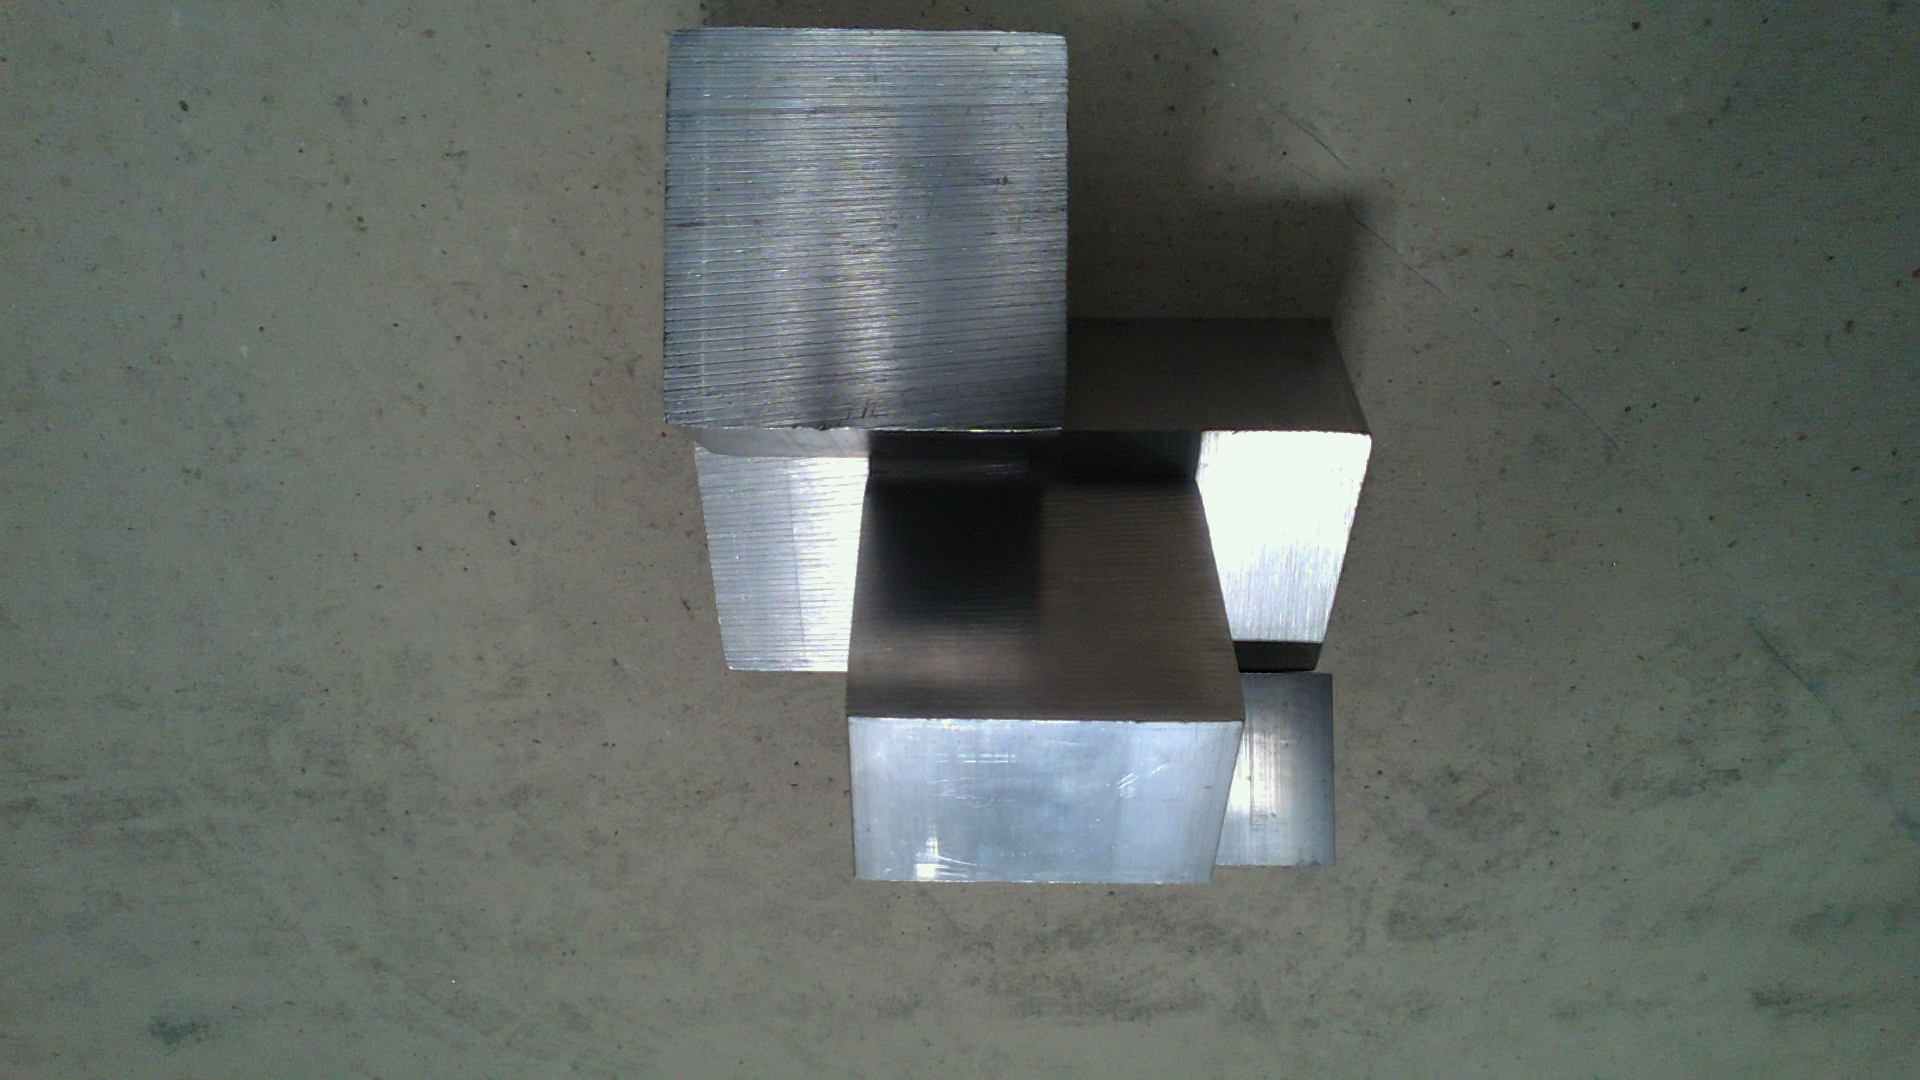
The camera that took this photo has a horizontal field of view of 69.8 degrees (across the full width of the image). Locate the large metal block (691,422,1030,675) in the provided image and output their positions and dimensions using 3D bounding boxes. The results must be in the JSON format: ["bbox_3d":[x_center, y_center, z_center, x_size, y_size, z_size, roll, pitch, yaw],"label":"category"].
[{"bbox_3d":[-0.024,-0.010,0.363,0.080,0.050,0.080,0,130,-1],"label":"large metal block"}]

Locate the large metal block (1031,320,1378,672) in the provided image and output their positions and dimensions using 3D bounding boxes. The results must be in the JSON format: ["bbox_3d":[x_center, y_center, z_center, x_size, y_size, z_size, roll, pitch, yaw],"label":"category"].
[{"bbox_3d":[0.057,-0.010,0.364,0.080,0.050,0.080,0,130,-1],"label":"large metal block"}]

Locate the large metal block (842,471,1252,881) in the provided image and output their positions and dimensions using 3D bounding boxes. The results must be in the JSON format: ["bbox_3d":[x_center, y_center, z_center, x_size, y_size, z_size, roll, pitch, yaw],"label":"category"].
[{"bbox_3d":[0.017,0.029,0.314,0.080,0.080,0.050,1,130,-1],"label":"large metal block"}]

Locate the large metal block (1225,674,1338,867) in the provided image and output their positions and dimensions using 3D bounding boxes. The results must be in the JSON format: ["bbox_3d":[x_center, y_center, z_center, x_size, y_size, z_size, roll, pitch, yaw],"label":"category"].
[{"bbox_3d":[0.059,0.063,0.400,0.080,0.080,0.050,0,86,0],"label":"large metal block"}]

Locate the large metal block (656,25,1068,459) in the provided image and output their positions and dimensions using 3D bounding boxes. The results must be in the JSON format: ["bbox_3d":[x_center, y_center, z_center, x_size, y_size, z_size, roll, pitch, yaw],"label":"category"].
[{"bbox_3d":[-0.019,-0.060,0.296,0.080,0.050,0.080,1,86,0],"label":"large metal block"}]
